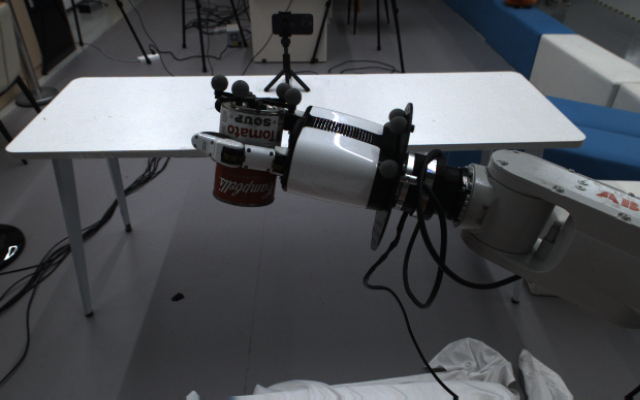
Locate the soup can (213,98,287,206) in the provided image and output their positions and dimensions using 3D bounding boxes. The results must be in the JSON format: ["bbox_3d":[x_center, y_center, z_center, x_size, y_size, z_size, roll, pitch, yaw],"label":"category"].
[{"bbox_3d":[-0.074,-0.051,0.516,0.067,0.101,0.067,8,19,-3],"label":"soup can"}]
